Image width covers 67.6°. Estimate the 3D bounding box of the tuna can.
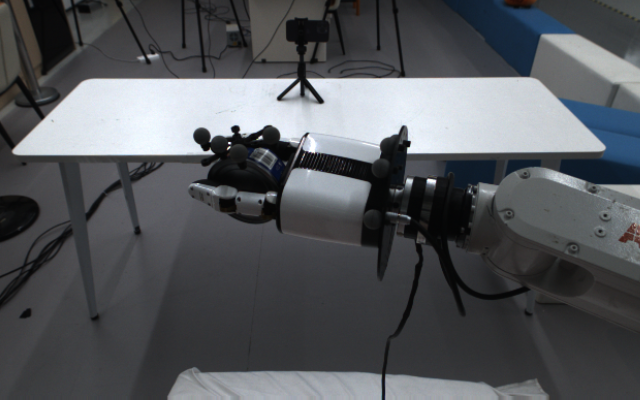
[{"bbox_3d":[-0.073,-0.018,0.524,0.085,0.085,0.034,11,39,13],"label":"tuna can"}]
